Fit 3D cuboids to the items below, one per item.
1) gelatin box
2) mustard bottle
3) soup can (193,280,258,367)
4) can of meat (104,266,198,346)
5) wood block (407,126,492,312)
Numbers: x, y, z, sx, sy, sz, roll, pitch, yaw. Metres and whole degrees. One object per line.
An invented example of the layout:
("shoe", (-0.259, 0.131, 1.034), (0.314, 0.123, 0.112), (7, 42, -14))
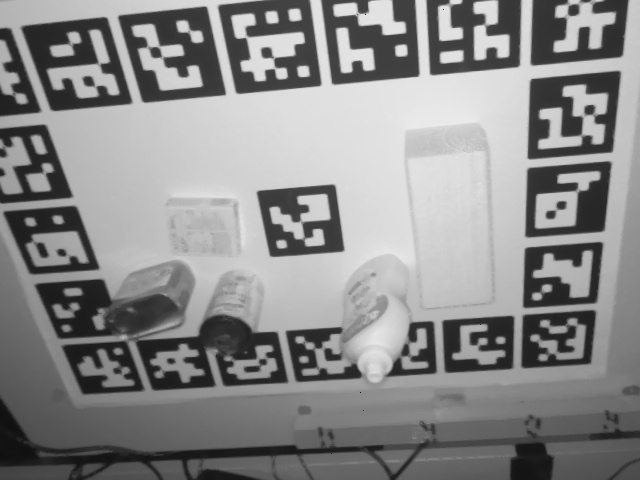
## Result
("gelatin box", (-0.154, -0.014, 0.882), (0.089, 0.030, 0.072), (3, 118, -1))
("mustard bottle", (0.068, 0.100, 0.851), (0.095, 0.193, 0.058), (-27, 115, 20))
("soup can", (-0.121, 0.105, 0.901), (0.068, 0.103, 0.067), (1, 118, 3))
("can of meat", (-0.219, 0.084, 0.916), (0.101, 0.084, 0.057), (-16, 117, 15))
("wood block", (0.155, -0.021, 0.831), (0.091, 0.091, 0.205), (-3, 123, 8))
